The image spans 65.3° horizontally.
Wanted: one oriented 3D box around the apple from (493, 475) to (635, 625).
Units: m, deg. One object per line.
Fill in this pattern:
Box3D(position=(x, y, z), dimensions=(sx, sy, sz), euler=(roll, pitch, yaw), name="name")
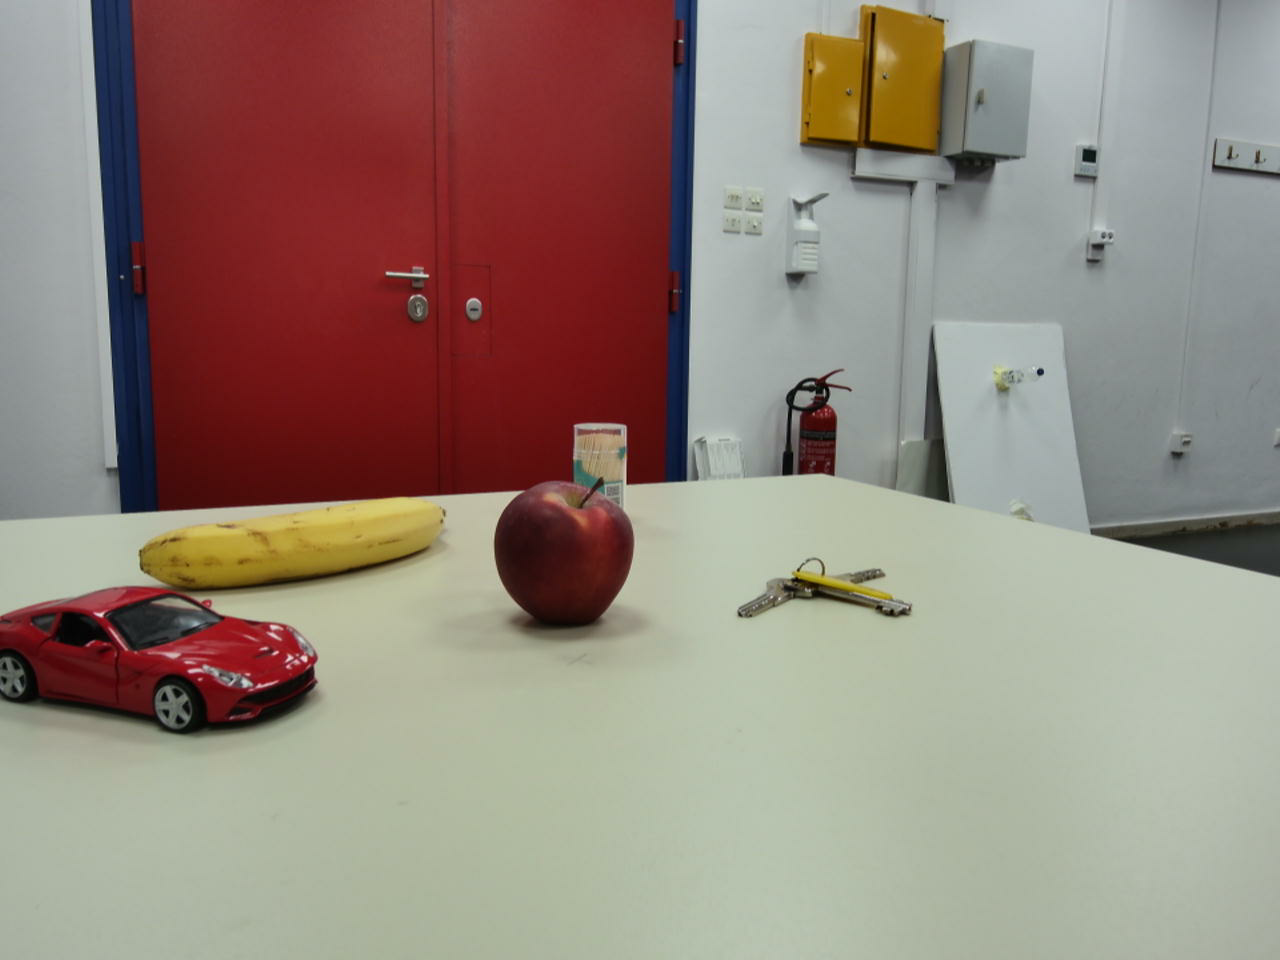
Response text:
Box3D(position=(-0.038, 0.034, 0.502), dimensions=(0.070, 0.072, 0.070), euler=(0, 7, 0), name="apple")
